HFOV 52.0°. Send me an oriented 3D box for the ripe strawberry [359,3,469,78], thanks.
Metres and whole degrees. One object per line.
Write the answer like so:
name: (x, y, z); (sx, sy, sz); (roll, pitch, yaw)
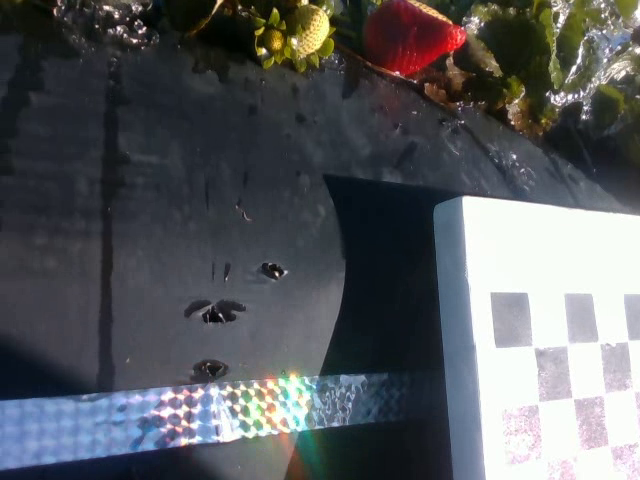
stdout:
ripe strawberry: (0.045, -0.094, 0.302); (0.053, 0.042, 0.040); (16, 42, 38)
